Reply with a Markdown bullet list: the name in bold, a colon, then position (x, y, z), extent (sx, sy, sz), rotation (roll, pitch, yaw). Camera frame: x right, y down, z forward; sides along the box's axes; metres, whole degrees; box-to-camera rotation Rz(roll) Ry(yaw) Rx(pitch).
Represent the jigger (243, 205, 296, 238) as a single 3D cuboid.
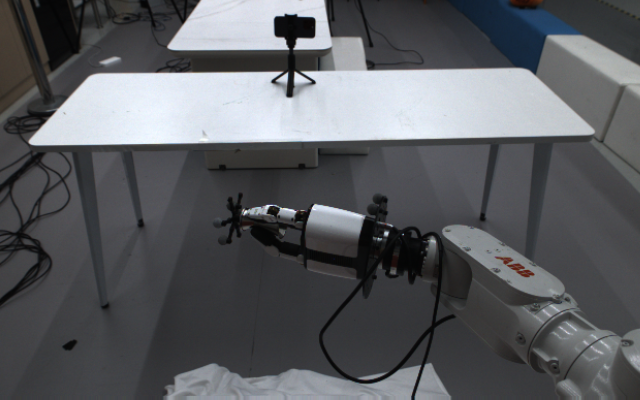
- **jigger**: position (-0.085, 0.031, 0.783), extent (0.071, 0.043, 0.043), rotation (8, 35, 14)
